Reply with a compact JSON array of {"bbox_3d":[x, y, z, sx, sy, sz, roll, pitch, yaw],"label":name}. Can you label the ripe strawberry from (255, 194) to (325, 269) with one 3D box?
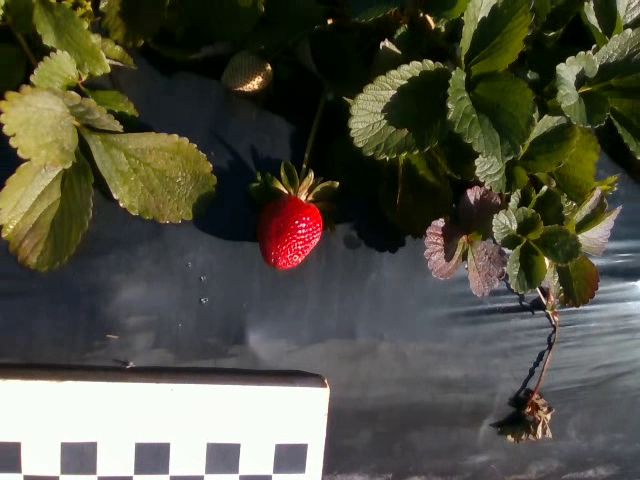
[{"bbox_3d":[-0.020,-0.001,0.370,0.042,0.050,0.043,40,-43,-19],"label":"ripe strawberry"}]
